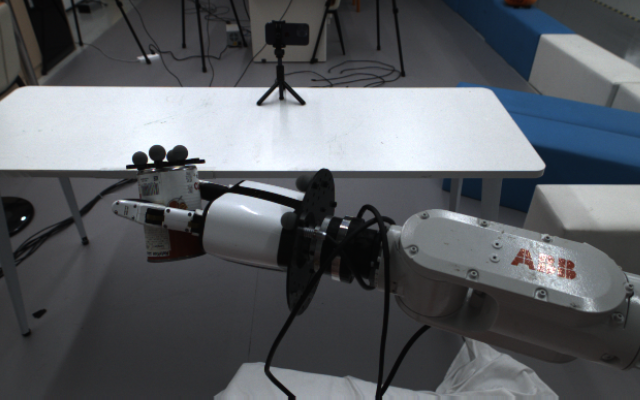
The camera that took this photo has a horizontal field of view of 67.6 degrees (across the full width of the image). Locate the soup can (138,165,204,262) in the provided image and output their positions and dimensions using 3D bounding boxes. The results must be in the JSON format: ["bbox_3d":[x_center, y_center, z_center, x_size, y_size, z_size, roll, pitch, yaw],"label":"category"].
[{"bbox_3d":[-0.166,0.016,0.551,0.067,0.101,0.067,-7,2,0],"label":"soup can"}]
